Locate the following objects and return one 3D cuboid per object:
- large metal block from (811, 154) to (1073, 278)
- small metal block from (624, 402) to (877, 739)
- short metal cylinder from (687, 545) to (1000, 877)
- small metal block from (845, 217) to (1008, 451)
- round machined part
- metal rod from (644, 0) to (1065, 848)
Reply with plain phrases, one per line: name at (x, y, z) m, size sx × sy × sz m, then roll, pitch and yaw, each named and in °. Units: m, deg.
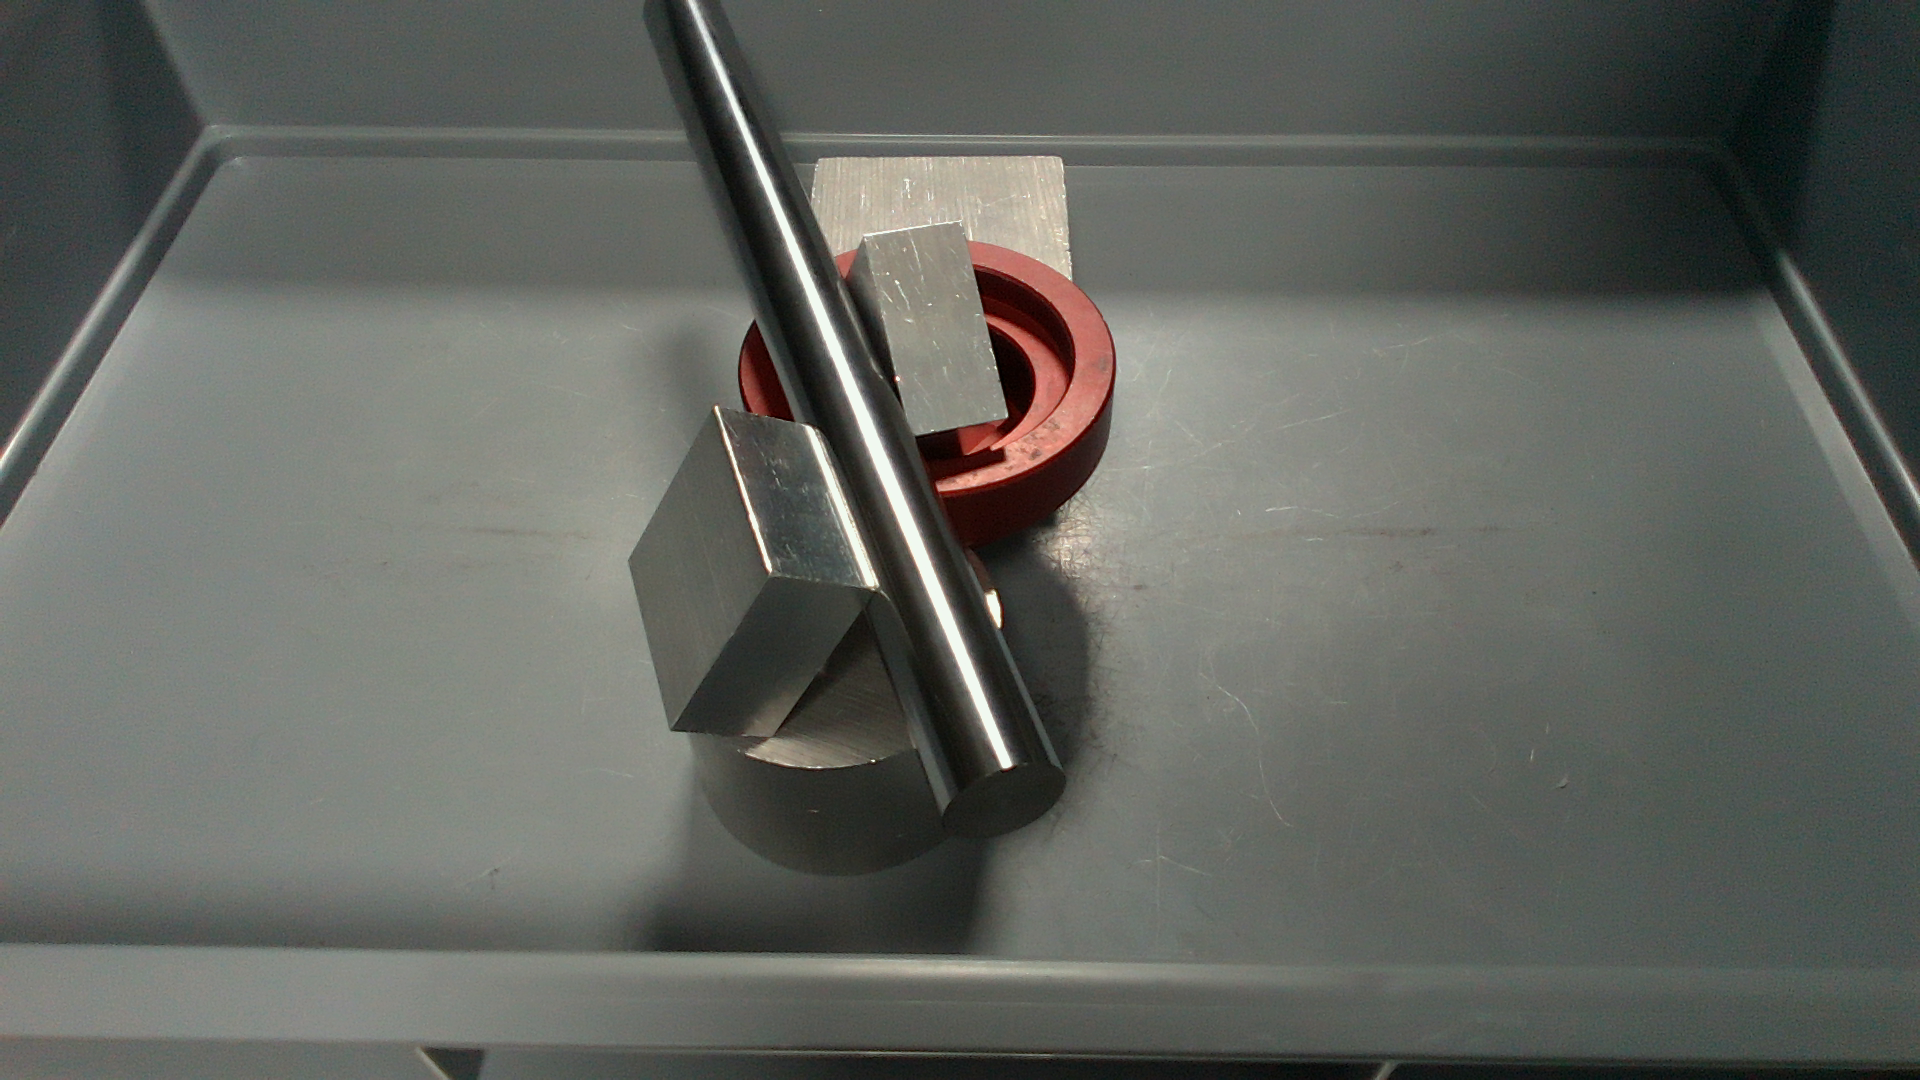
large metal block at (-0.006, -0.078, 0.438) m, size 0.080 × 0.050 × 0.080 m, roll 0°, pitch 50°, yaw 0°
small metal block at (-0.048, 0.007, 0.300) m, size 0.025 × 0.050 × 0.050 m, roll 11°, pitch 40°, yaw -36°
short metal cylinder at (-0.030, 0.036, 0.344) m, size 0.080 × 0.050 × 0.080 m, roll 0°, pitch 50°, yaw 0°
small metal block at (-0.011, -0.048, 0.352) m, size 0.025 × 0.050 × 0.050 m, roll -12°, pitch 85°, yaw -14°
round machined part at (-0.008, -0.035, 0.371) m, size 0.098 × 0.042 × 0.098 m, roll 0°, pitch 50°, yaw 0°
metal rod at (-0.040, -0.058, 0.348) m, size 0.025 × 0.025 × 0.300 m, roll -15°, pitch 51°, yaw -12°
